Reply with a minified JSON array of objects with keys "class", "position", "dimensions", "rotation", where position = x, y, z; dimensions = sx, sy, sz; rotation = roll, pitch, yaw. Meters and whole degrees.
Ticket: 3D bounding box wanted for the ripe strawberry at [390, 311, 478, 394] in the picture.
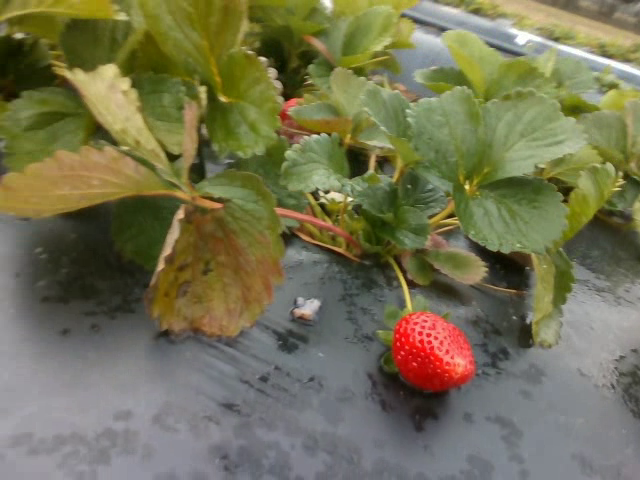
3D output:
[{"class":"ripe strawberry","position":[0.058,0.057,0.332],"dimensions":[0.045,0.048,0.054],"rotation":[-9,16,-2]}]
